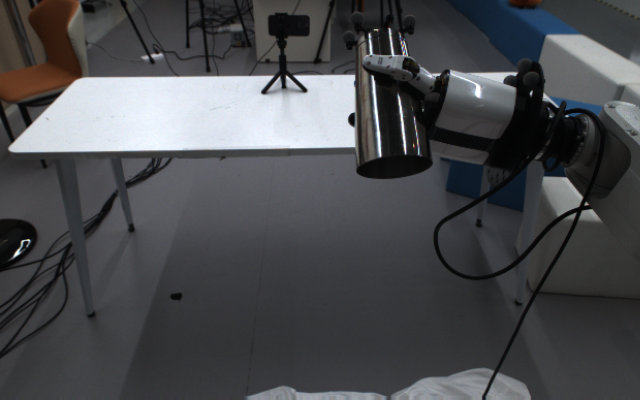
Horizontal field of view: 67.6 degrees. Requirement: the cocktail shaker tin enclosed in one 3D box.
[{"bbox_3d":[0.085,-0.121,0.602,0.093,0.093,0.170,-3,76,-8],"label":"cocktail shaker tin"}]
